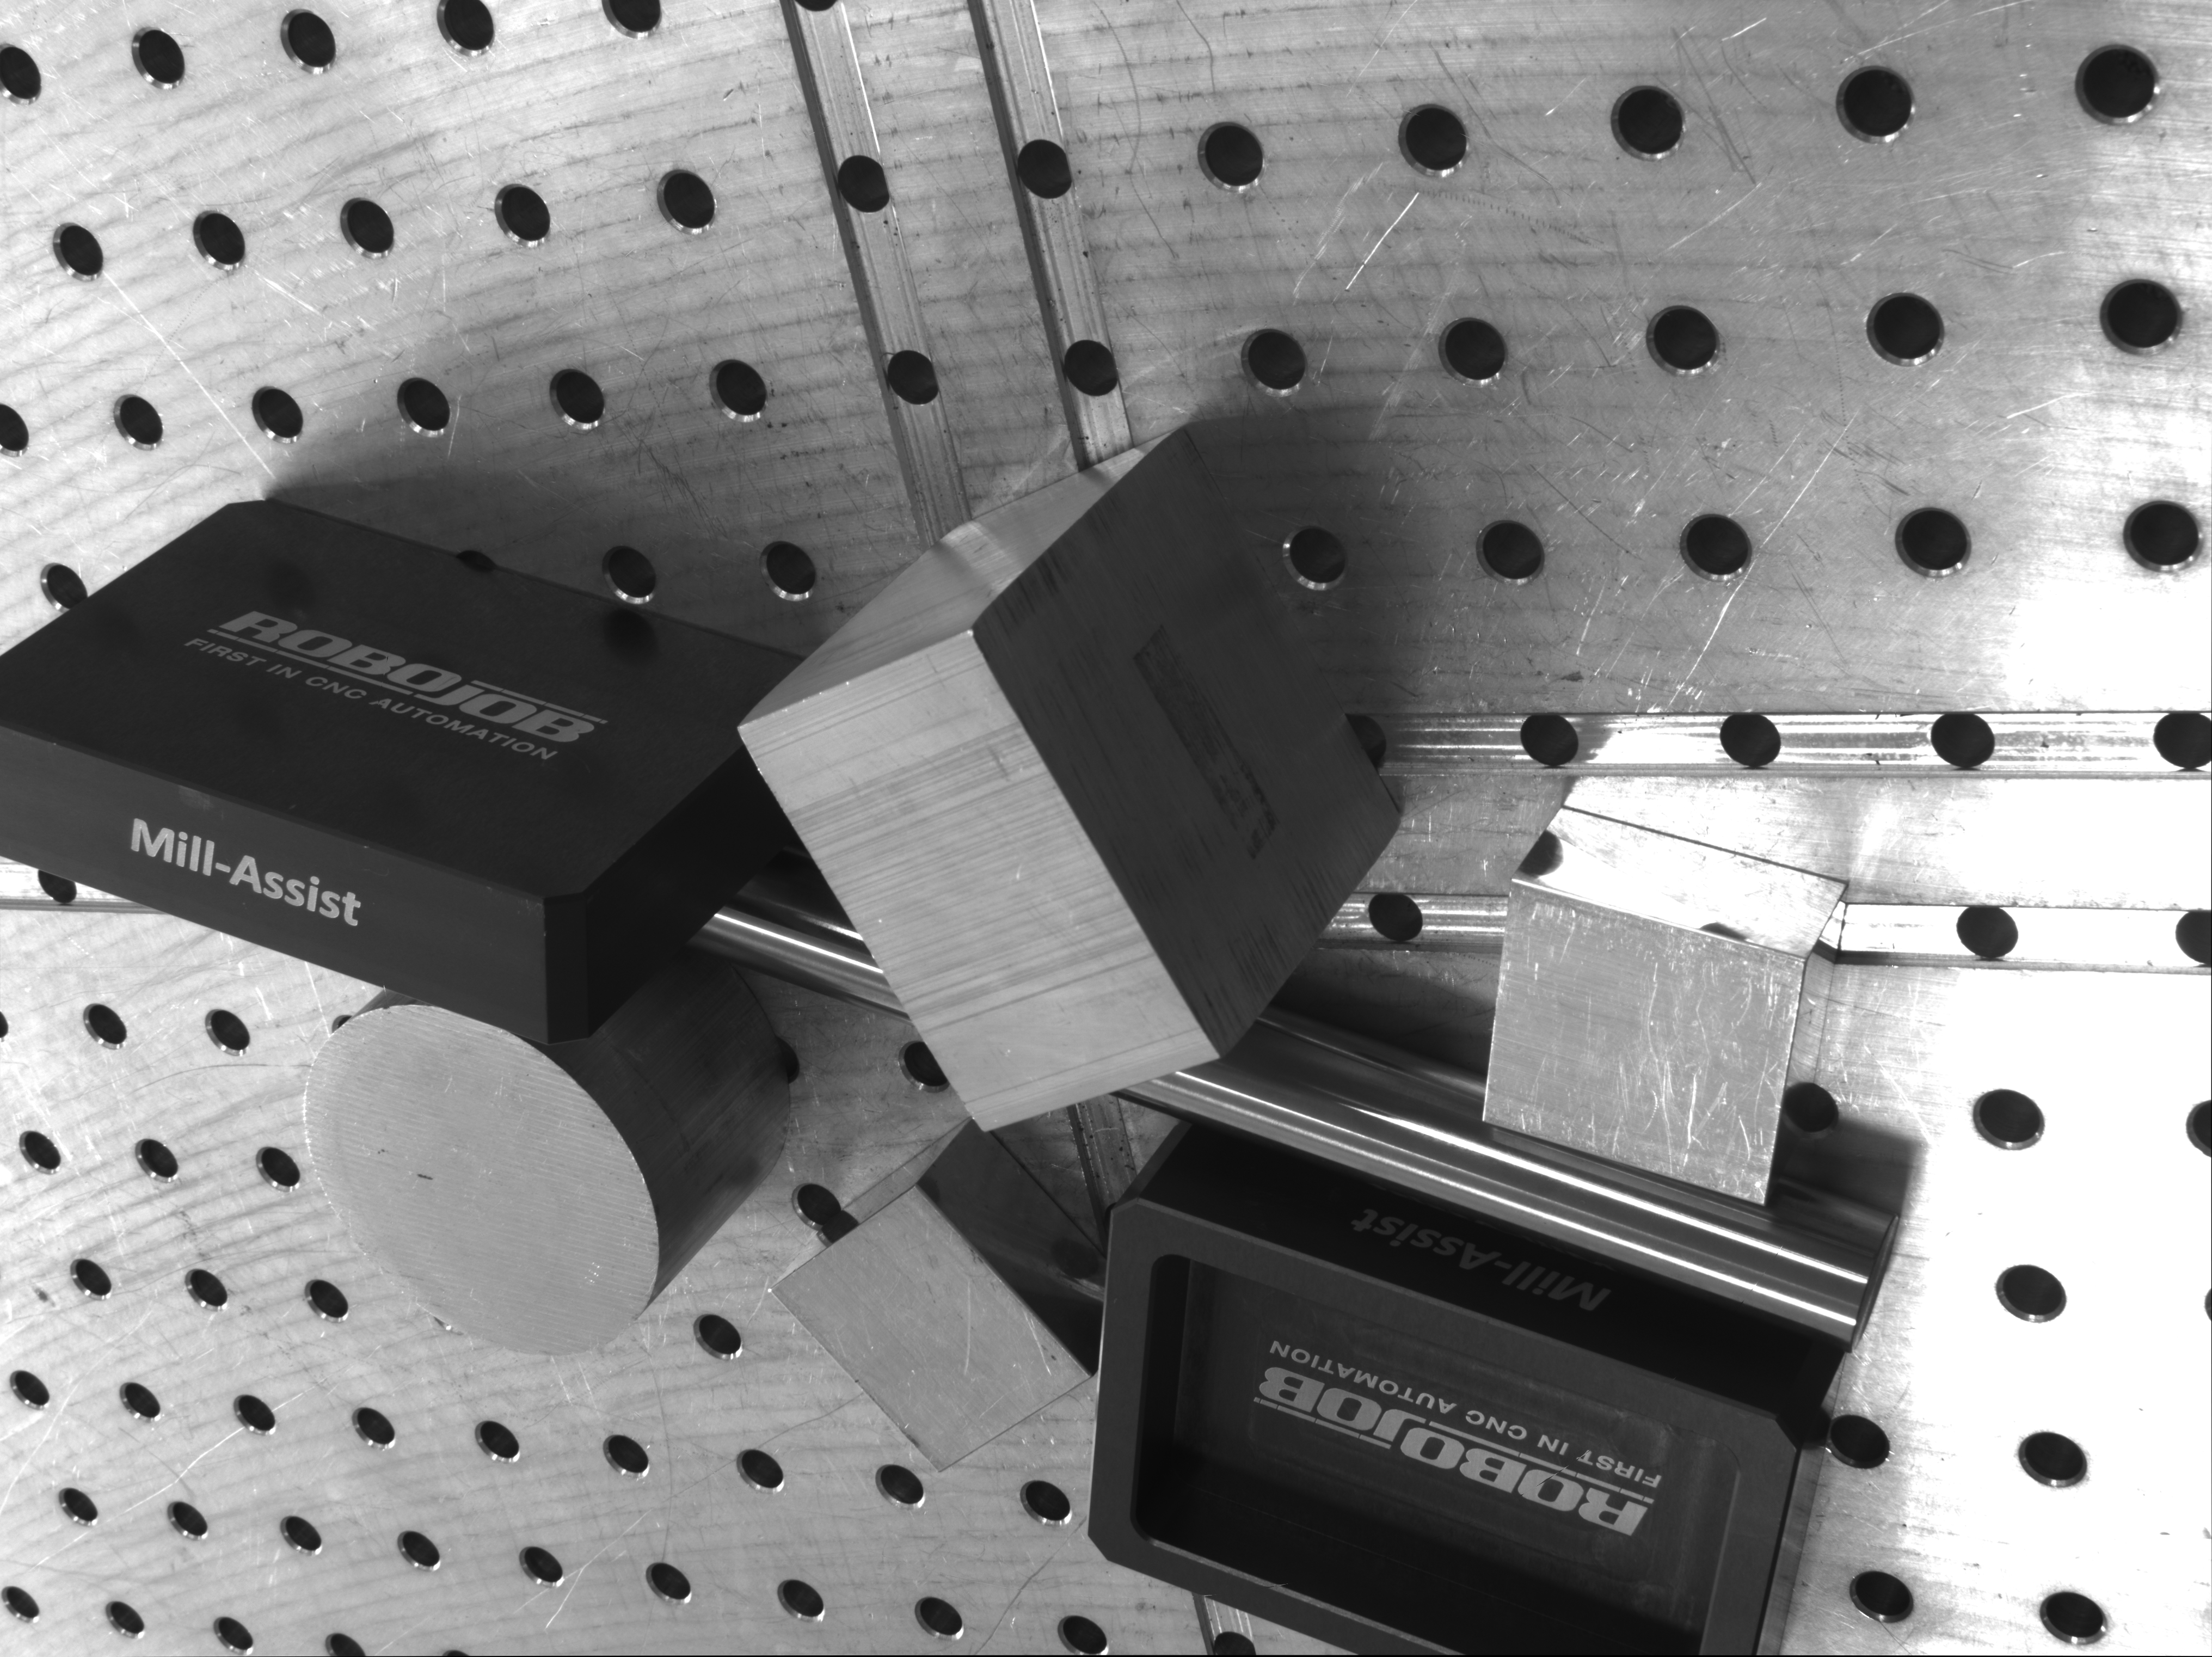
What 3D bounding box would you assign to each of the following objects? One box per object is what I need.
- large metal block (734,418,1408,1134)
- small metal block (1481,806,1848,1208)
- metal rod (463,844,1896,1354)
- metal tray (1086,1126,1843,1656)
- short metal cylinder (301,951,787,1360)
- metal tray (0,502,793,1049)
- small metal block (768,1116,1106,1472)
[{"bbox_3d":[-0.003,-0.009,0.608,0.050,0.080,0.080,-20,107,36],"label":"large metal block"},{"bbox_3d":[0.093,0.030,0.614,0.050,0.025,0.050,16,125,19],"label":"small metal block"},{"bbox_3d":[-0.005,0.033,0.668,0.299,0.025,0.025,18,125,18],"label":"metal rod"},{"bbox_3d":[0.063,0.114,0.677,0.130,0.030,0.090,17,125,19],"label":"metal tray"},{"bbox_3d":[-0.110,0.057,0.722,0.080,0.050,0.080,13,124,21],"label":"short metal cylinder"},{"bbox_3d":[-0.129,-0.013,0.663,0.130,0.090,0.030,17,125,18],"label":"metal tray"},{"bbox_3d":[-0.029,0.091,0.718,0.050,0.025,0.050,48,129,-6],"label":"small metal block"}]
